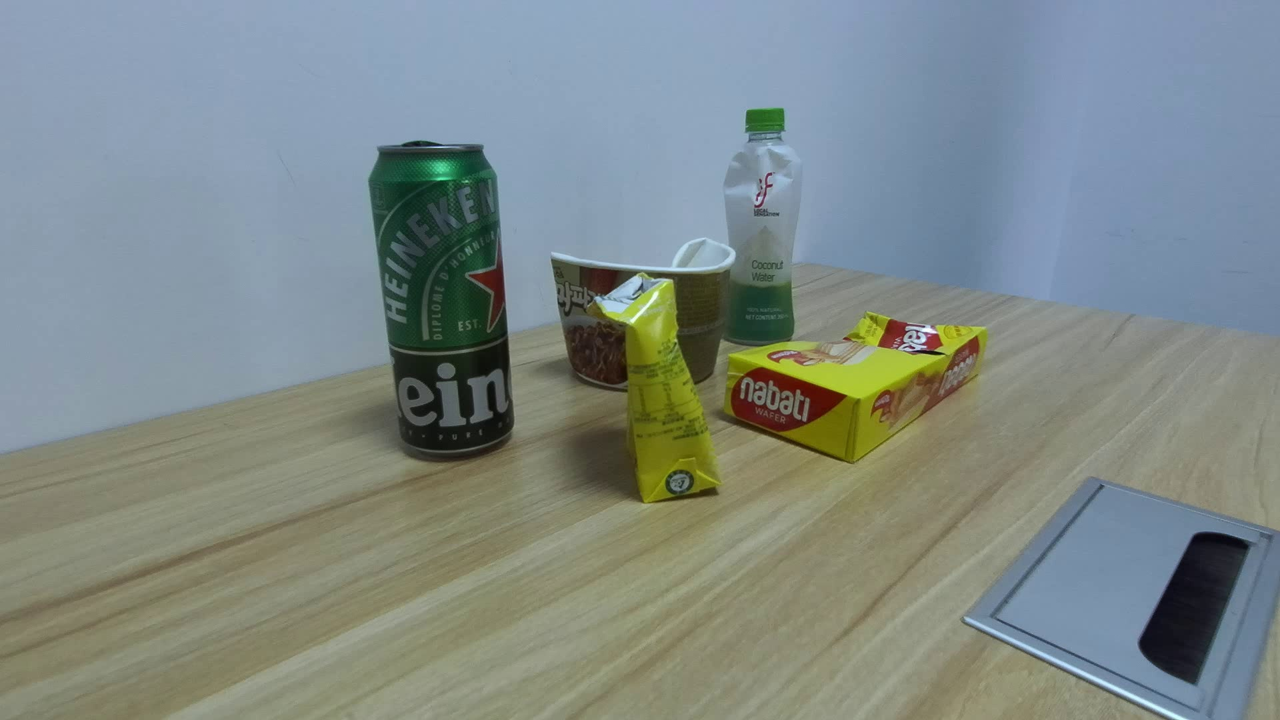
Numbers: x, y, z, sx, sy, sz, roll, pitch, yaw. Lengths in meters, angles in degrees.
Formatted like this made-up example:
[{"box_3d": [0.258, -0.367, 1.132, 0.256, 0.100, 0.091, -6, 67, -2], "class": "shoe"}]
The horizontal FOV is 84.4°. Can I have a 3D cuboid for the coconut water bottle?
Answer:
[{"box_3d": [0.100, -0.108, 0.586, 0.069, 0.186, 0.069, -2, 17, 1], "class": "coconut water bottle"}]

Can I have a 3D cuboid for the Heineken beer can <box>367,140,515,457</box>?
[{"box_3d": [-0.109, -0.032, 0.399, 0.067, 0.169, 0.067, 0, 17, 0], "class": "Heineken beer can"}]

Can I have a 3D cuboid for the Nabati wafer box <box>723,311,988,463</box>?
[{"box_3d": [0.152, 0.006, 0.484, 0.106, 0.042, 0.205, 18, 25, 40], "class": "Nabati wafer box"}]

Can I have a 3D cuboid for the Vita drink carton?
[{"box_3d": [0.005, 0.012, 0.364, 0.042, 0.108, 0.087, -16, 16, -2], "class": "Vita drink carton"}]

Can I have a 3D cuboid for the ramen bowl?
[{"box_3d": [0.003, -0.035, 0.518, 0.137, 0.098, 0.137, -3, 19, 1], "class": "ramen bowl"}]
